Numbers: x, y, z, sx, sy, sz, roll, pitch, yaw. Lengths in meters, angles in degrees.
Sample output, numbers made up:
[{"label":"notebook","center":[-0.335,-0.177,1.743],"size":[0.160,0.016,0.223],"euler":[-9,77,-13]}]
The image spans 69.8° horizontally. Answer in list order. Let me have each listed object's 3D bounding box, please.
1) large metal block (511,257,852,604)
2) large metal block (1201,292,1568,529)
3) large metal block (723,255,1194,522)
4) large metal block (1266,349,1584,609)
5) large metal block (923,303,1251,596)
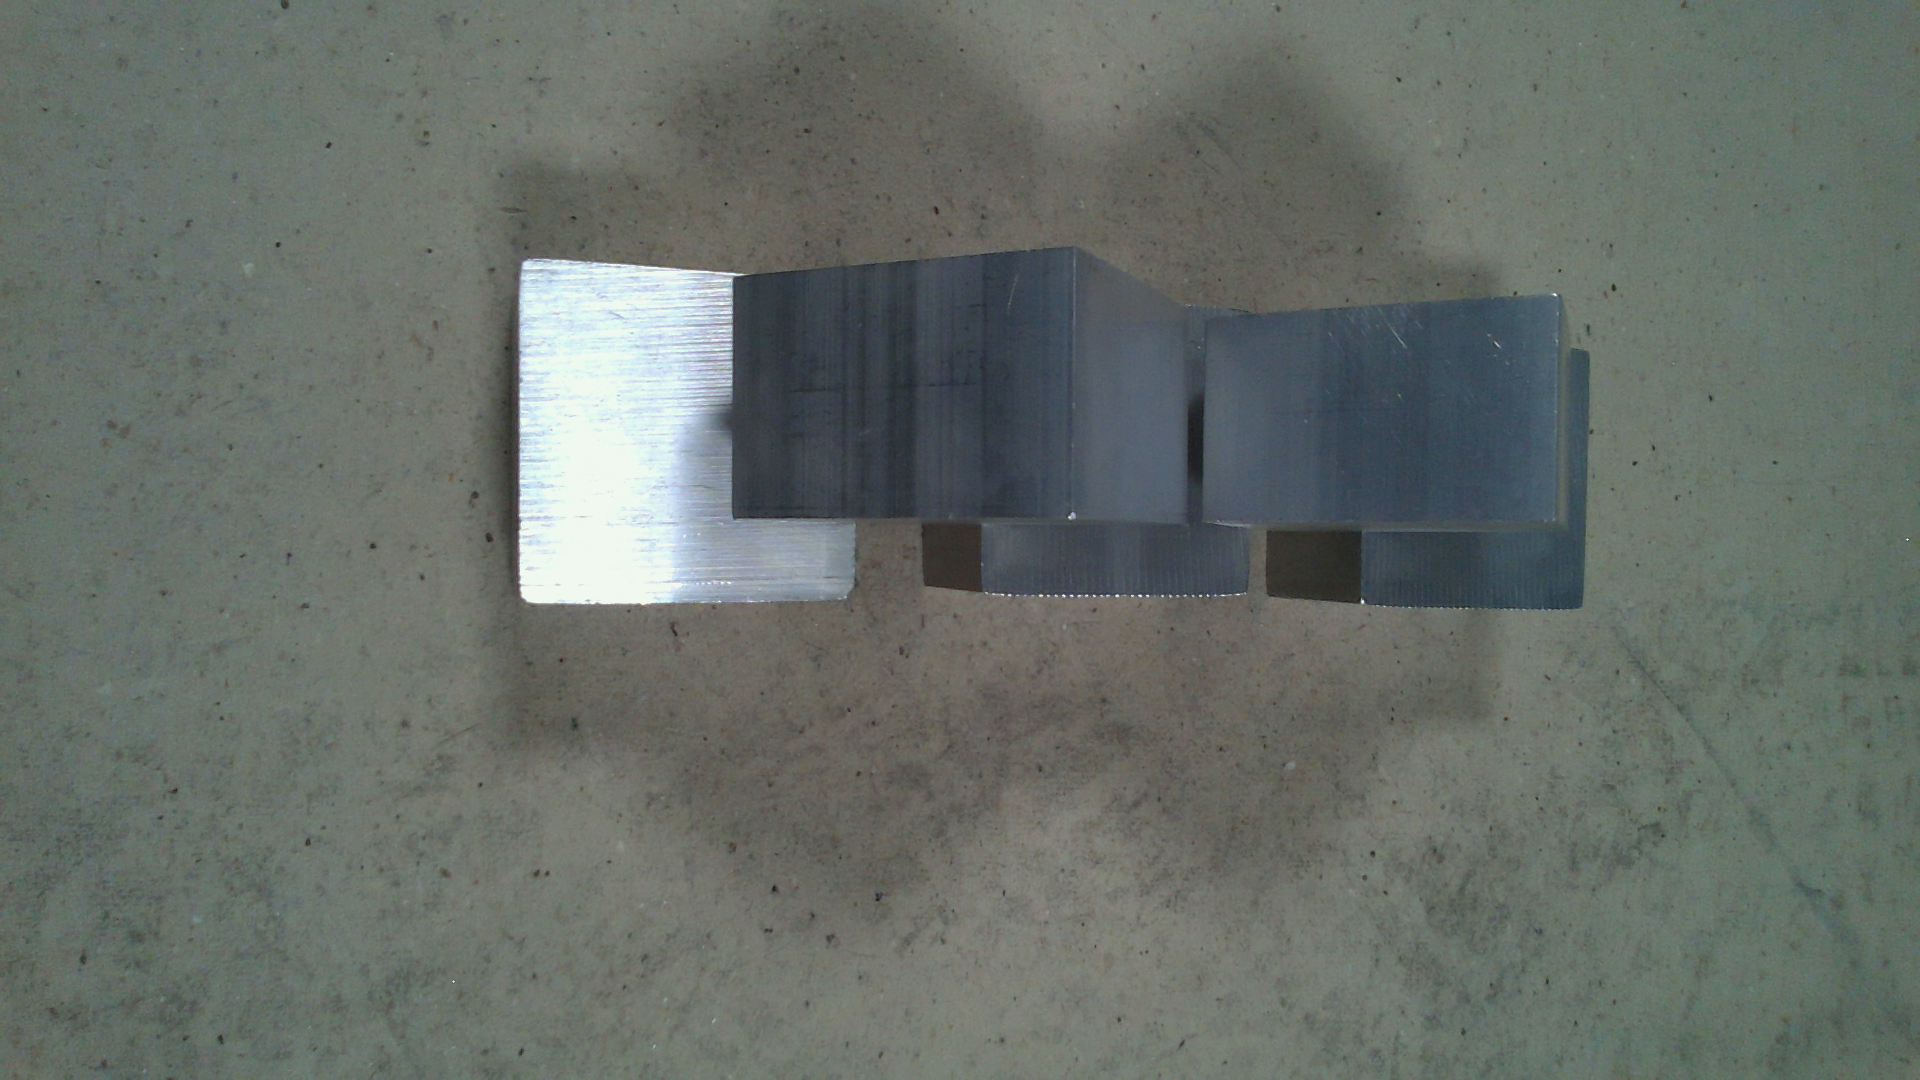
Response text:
[{"label":"large metal block","center":[-0.073,-0.025,0.354],"size":[0.080,0.050,0.080],"euler":[0,90,-20]},{"label":"large metal block","center":[0.112,-0.029,0.354],"size":[0.080,0.080,0.050],"euler":[1,89,25]},{"label":"large metal block","center":[0.003,-0.029,0.312],"size":[0.080,0.080,0.050],"euler":[-2,92,-65]},{"label":"large metal block","center":[0.145,-0.020,0.434],"size":[0.080,0.050,0.080],"euler":[2,90,-20]},{"label":"large metal block","center":[0.035,-0.025,0.393],"size":[0.080,0.050,0.080],"euler":[1,90,-20]}]
